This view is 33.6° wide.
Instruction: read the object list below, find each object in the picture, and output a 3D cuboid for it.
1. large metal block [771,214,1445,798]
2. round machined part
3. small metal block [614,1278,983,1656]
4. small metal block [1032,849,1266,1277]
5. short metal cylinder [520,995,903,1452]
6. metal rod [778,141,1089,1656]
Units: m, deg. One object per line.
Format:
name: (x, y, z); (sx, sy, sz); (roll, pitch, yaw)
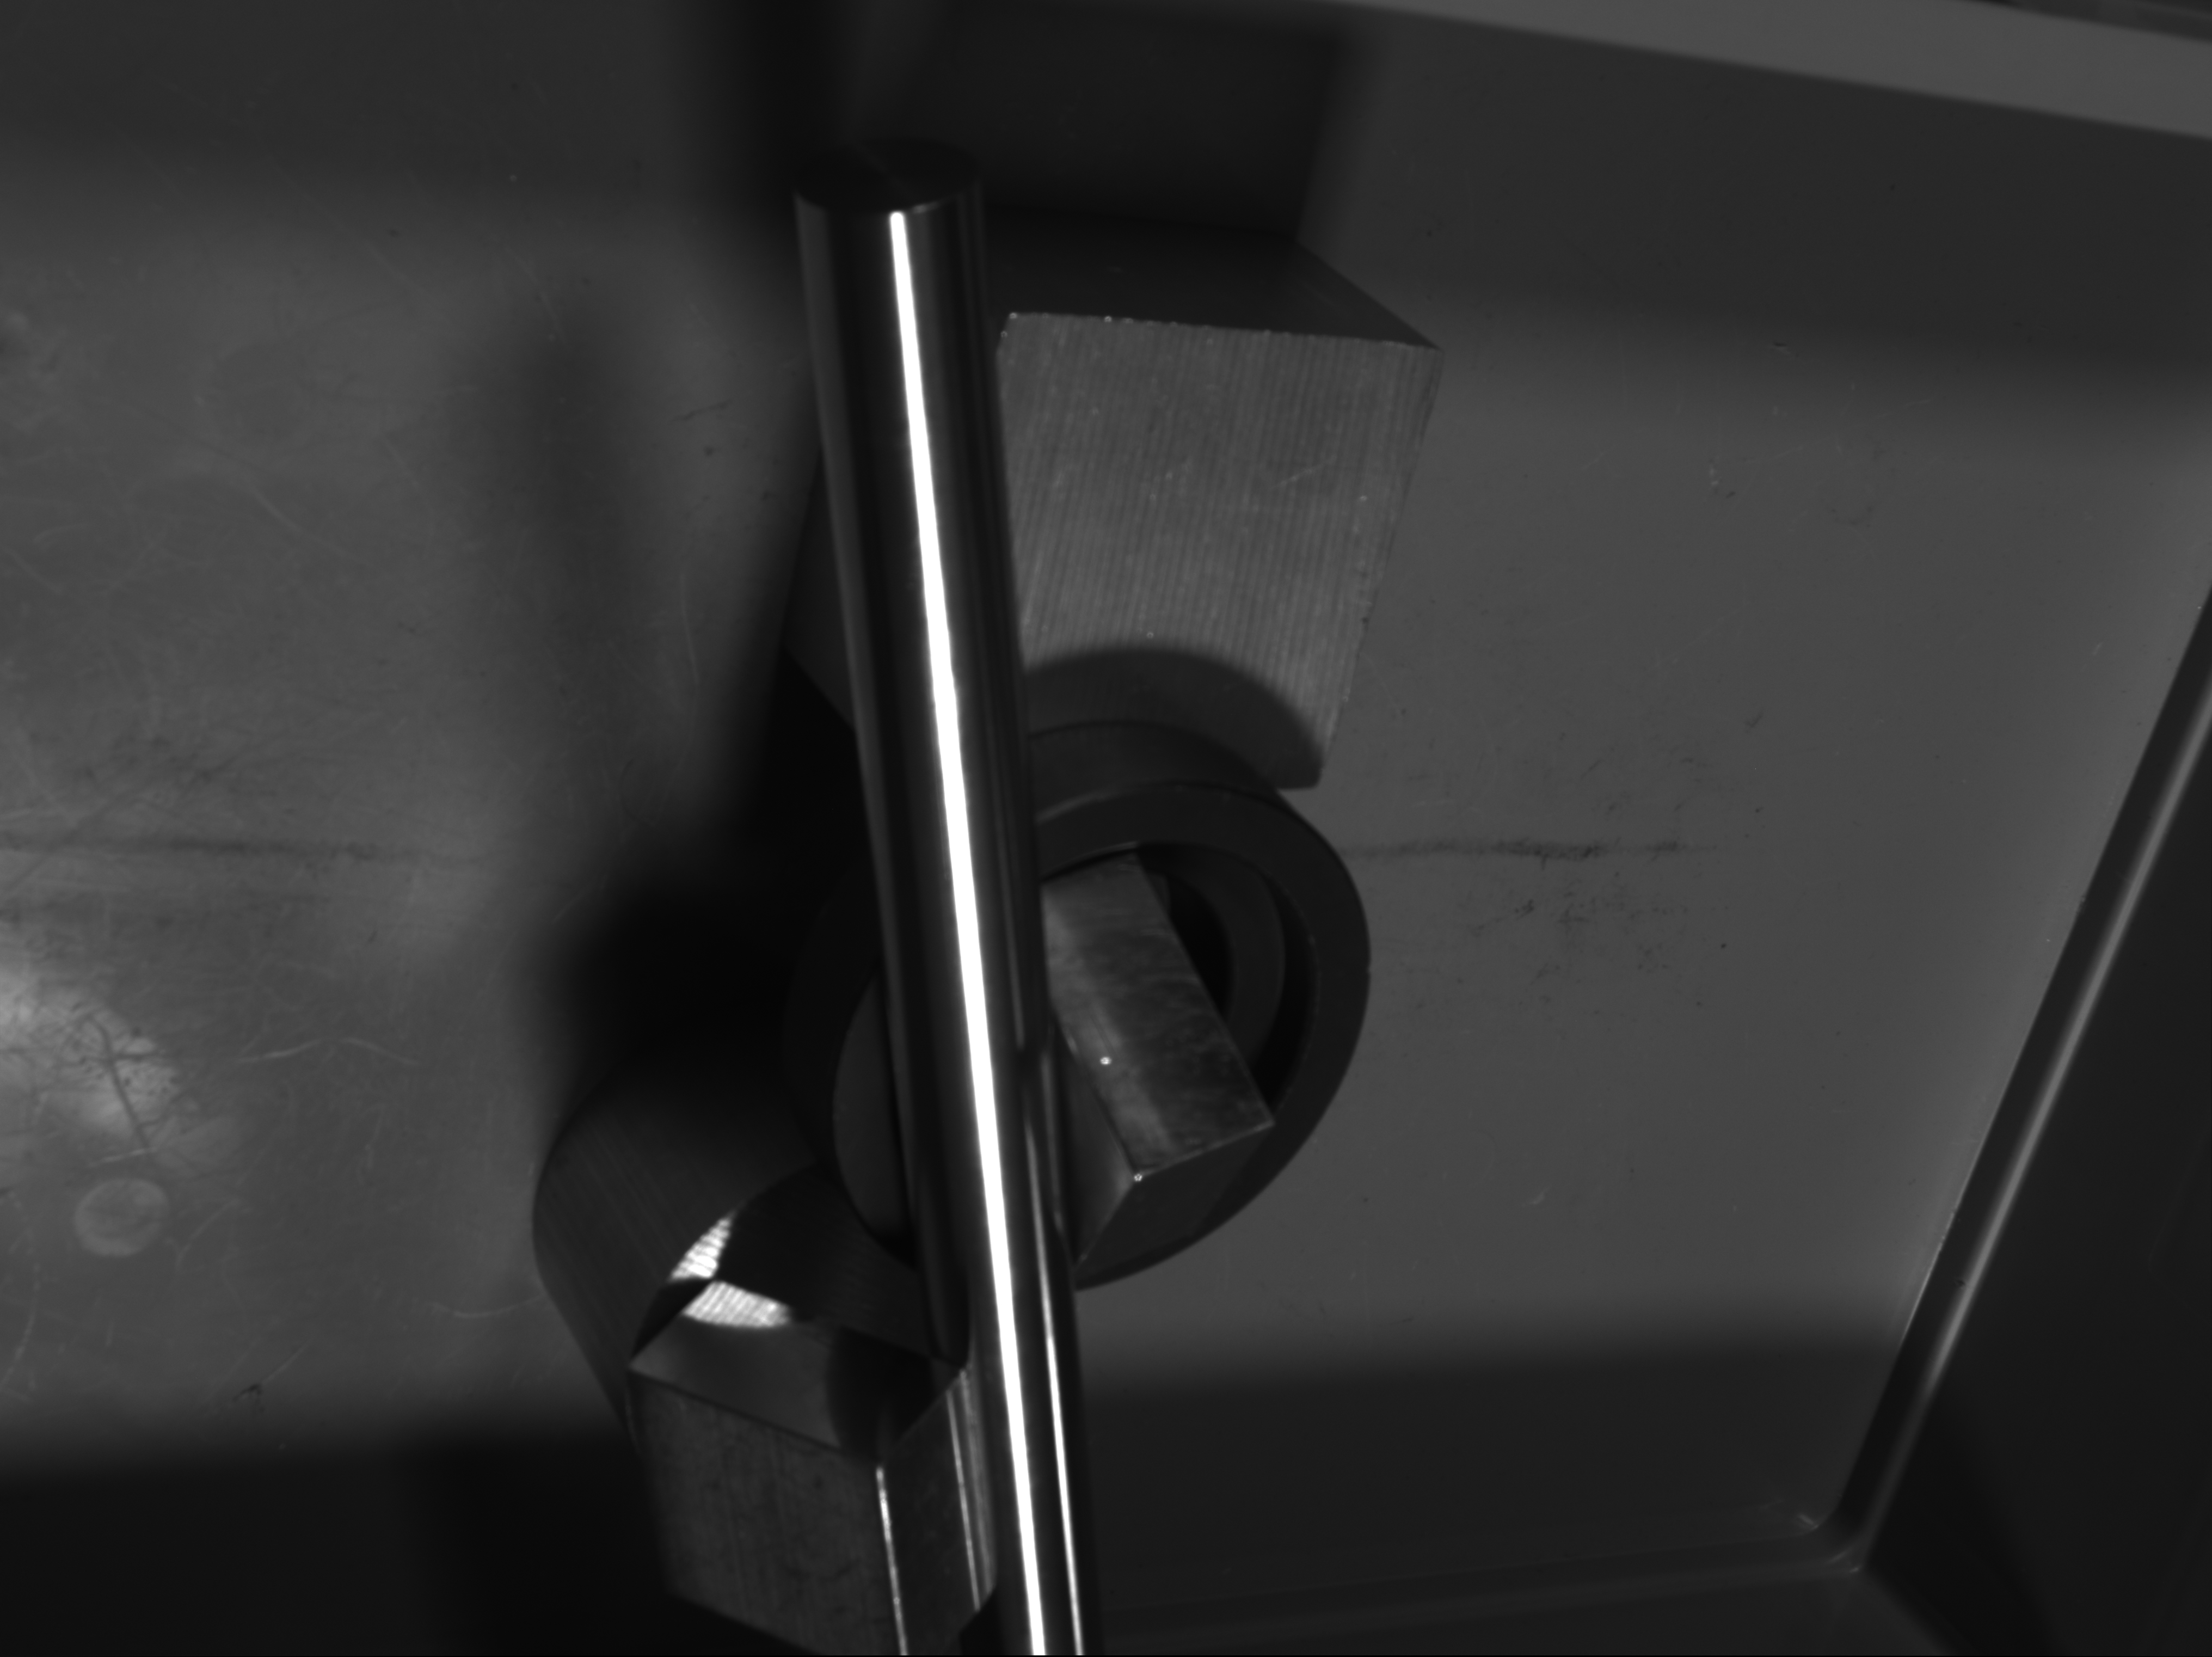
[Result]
large metal block: (-0.001, -0.052, 0.599); (0.080, 0.050, 0.080); (0, 118, -30)
round machined part: (-0.010, 0.026, 0.611); (0.098, 0.042, 0.098); (-15, 125, -22)
small metal block: (-0.050, 0.108, 0.602); (0.025, 0.050, 0.050); (-44, 140, -45)
small metal block: (-0.003, 0.039, 0.593); (0.025, 0.050, 0.050); (-19, 161, -23)
short metal cylinder: (-0.057, 0.077, 0.648); (0.080, 0.050, 0.080); (-15, 125, -22)
metal rod: (-0.023, 0.039, 0.569); (0.025, 0.025, 0.300); (-18, 126, -20)
